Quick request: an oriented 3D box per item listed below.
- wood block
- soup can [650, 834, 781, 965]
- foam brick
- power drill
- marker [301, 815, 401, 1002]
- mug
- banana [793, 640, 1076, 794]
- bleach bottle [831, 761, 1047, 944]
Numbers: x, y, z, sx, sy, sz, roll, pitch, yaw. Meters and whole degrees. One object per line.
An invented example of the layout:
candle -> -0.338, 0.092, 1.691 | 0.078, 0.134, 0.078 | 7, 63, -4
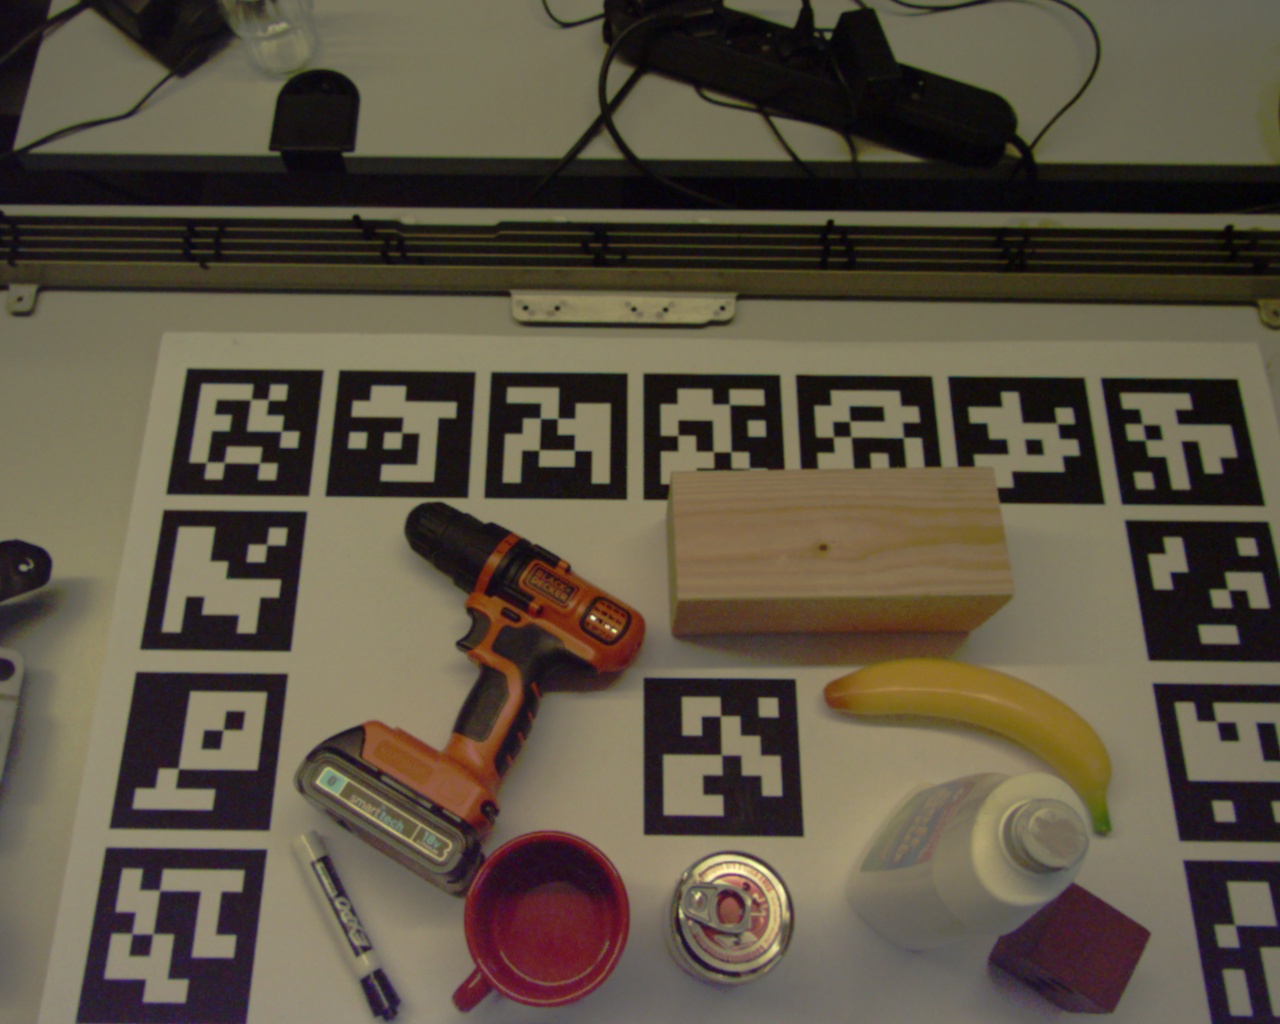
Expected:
wood block -> 0.124, 0.032, 0.779 | 0.206, 0.091, 0.090 | 0, 69, 0
soup can -> 0.042, 0.232, 0.681 | 0.068, 0.102, 0.068 | 1, 64, -3
foam brick -> 0.245, 0.259, 0.692 | 0.053, 0.078, 0.051 | 33, 69, 14
power drill -> -0.112, 0.109, 0.767 | 0.185, 0.057, 0.186 | 29, 69, 8
marker -> -0.184, 0.252, 0.725 | 0.019, 0.019, 0.122 | -27, 71, -9
mug -> -0.067, 0.239, 0.694 | 0.094, 0.081, 0.117 | 43, 76, 13
banana -> 0.203, 0.125, 0.764 | 0.198, 0.039, 0.074 | 17, 82, 4
bleach bottle -> 0.169, 0.181, 0.629 | 0.068, 0.250, 0.102 | 29, 69, 11
